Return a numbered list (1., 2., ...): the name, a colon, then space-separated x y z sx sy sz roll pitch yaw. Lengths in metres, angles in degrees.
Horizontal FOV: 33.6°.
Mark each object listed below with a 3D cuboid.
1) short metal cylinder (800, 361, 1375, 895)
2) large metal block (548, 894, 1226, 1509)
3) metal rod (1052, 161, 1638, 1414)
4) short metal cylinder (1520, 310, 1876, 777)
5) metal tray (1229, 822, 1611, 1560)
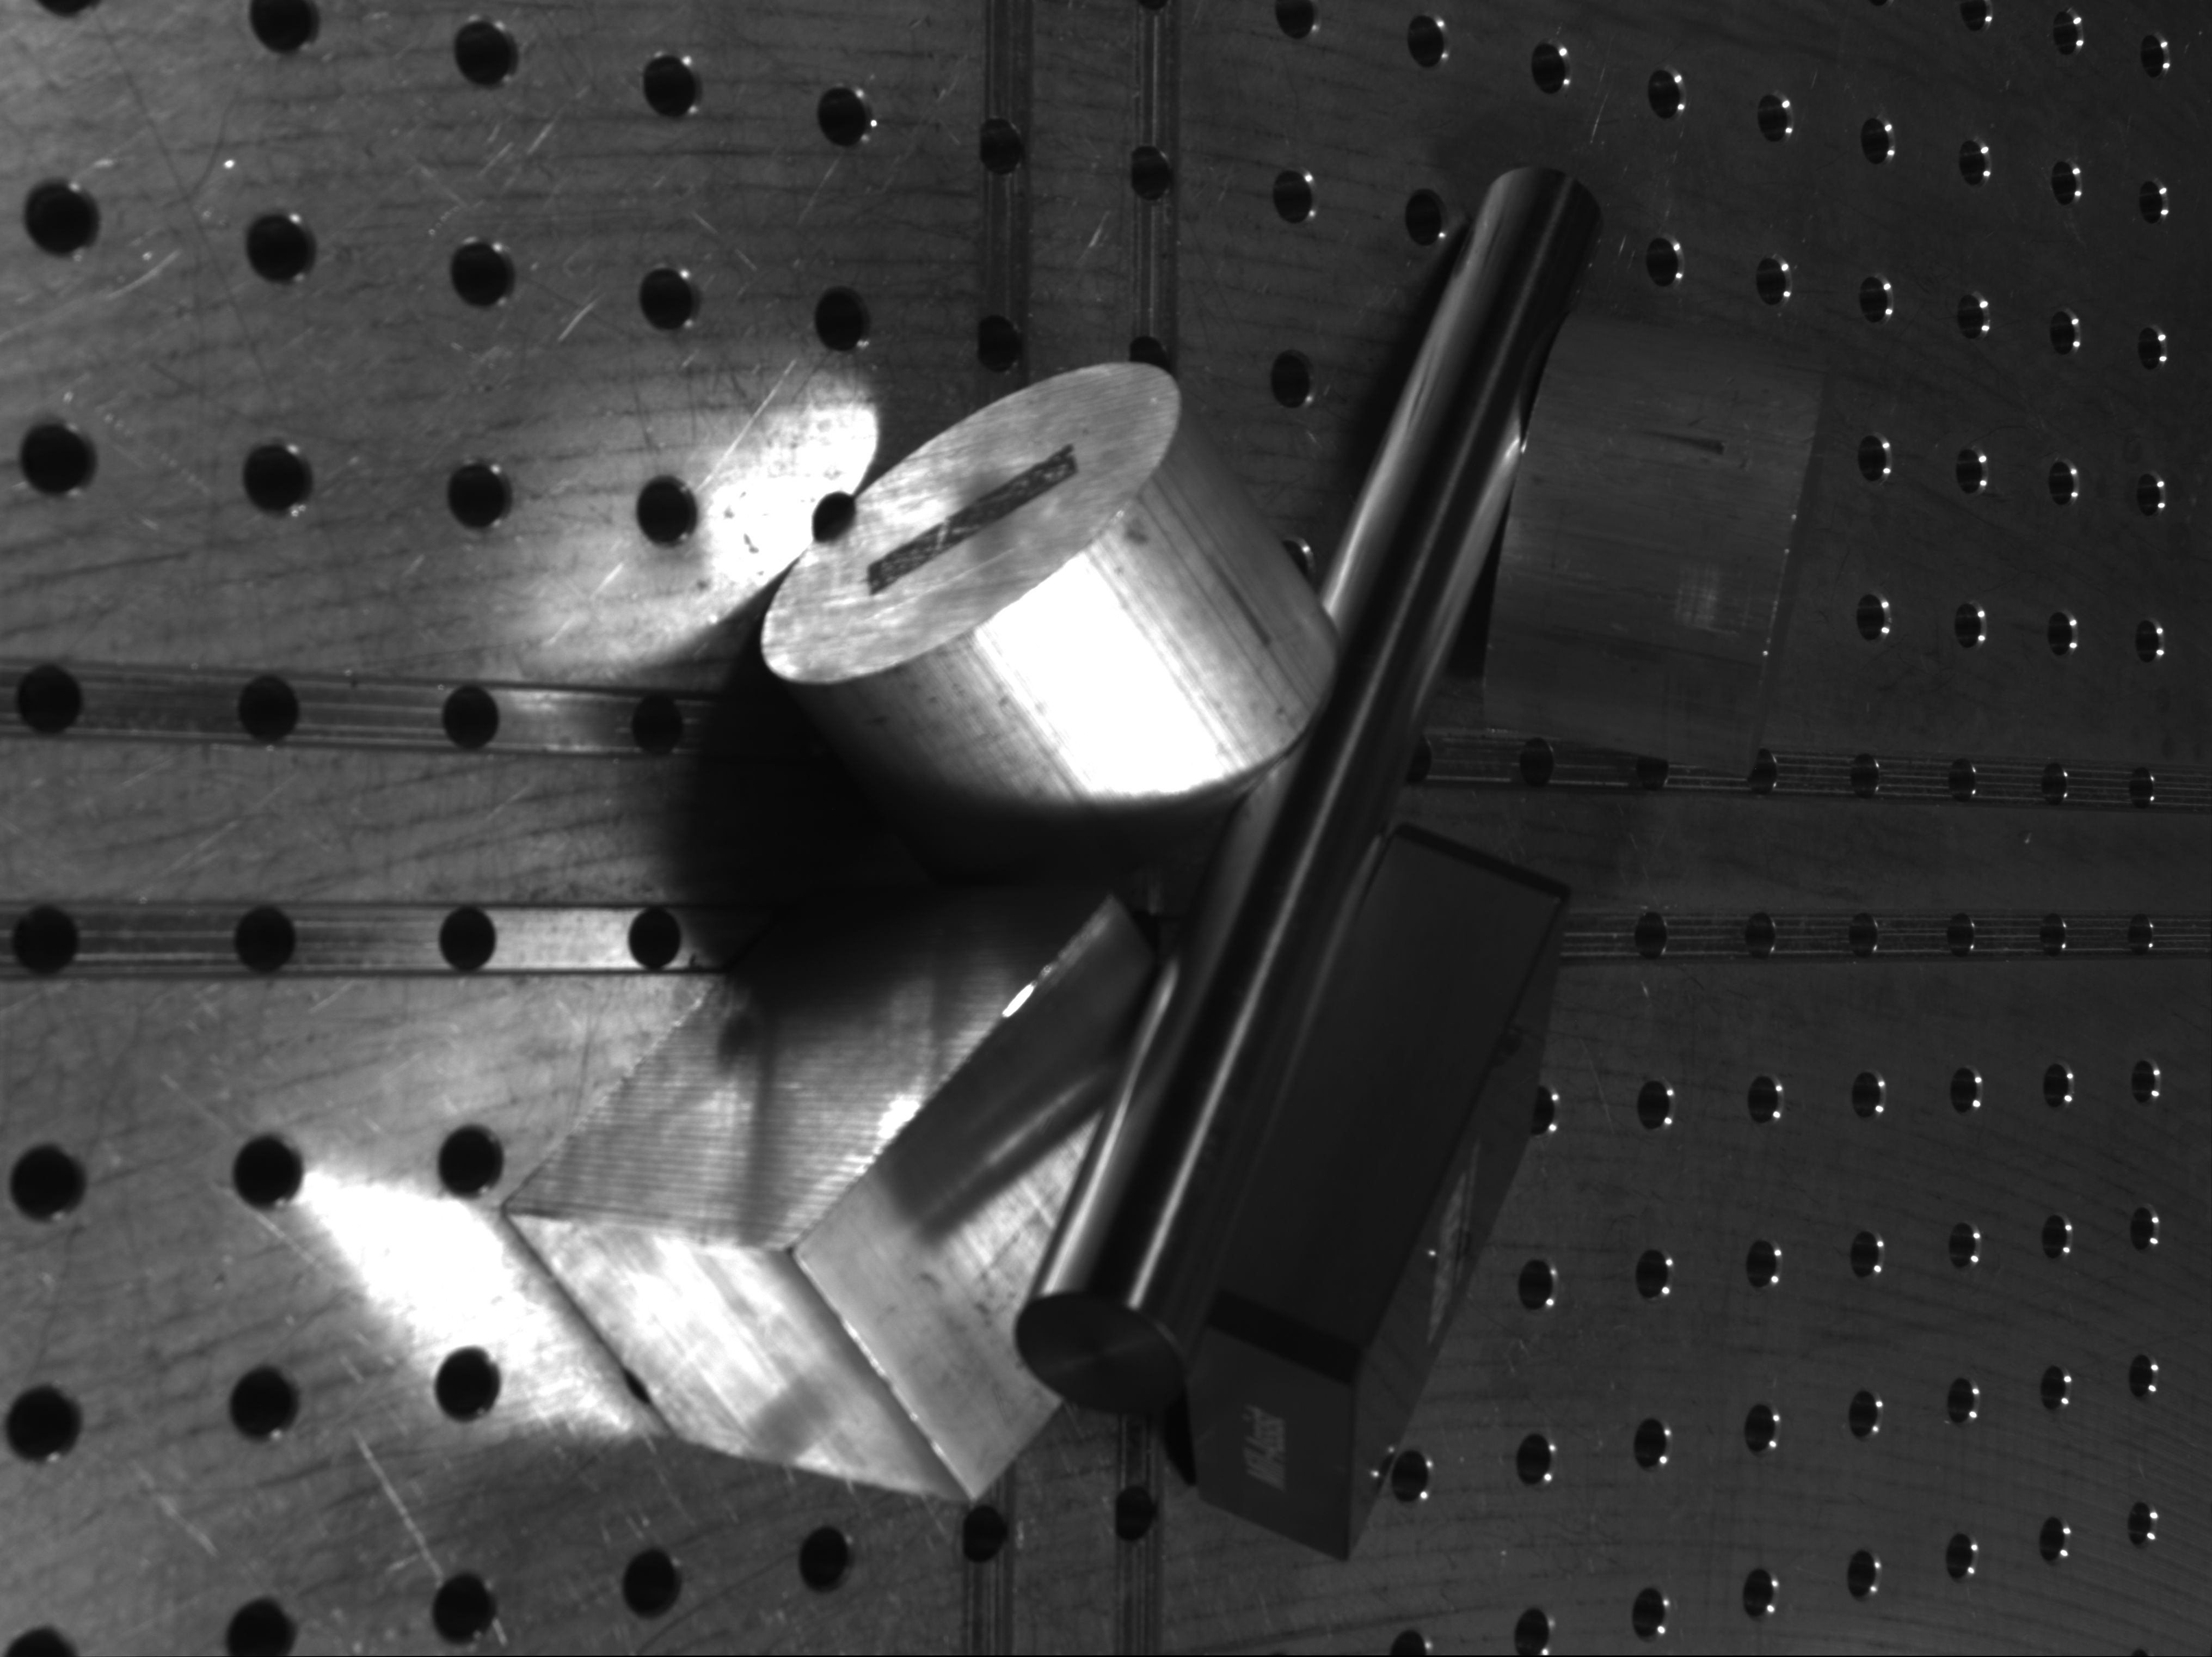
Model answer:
1. short metal cylinder: -0.003 -0.032 0.602 0.080 0.080 0.050 -51 120 -28
2. large metal block: -0.027 0.056 0.581 0.080 0.080 0.050 -47 118 -30
3. metal rod: 0.048 -0.024 0.611 0.025 0.025 0.300 54 38 -26
4. short metal cylinder: 0.112 -0.054 0.692 0.080 0.050 0.080 13 90 -77
5. metal tray: 0.053 0.066 0.629 0.130 0.030 0.090 82 32 -66
